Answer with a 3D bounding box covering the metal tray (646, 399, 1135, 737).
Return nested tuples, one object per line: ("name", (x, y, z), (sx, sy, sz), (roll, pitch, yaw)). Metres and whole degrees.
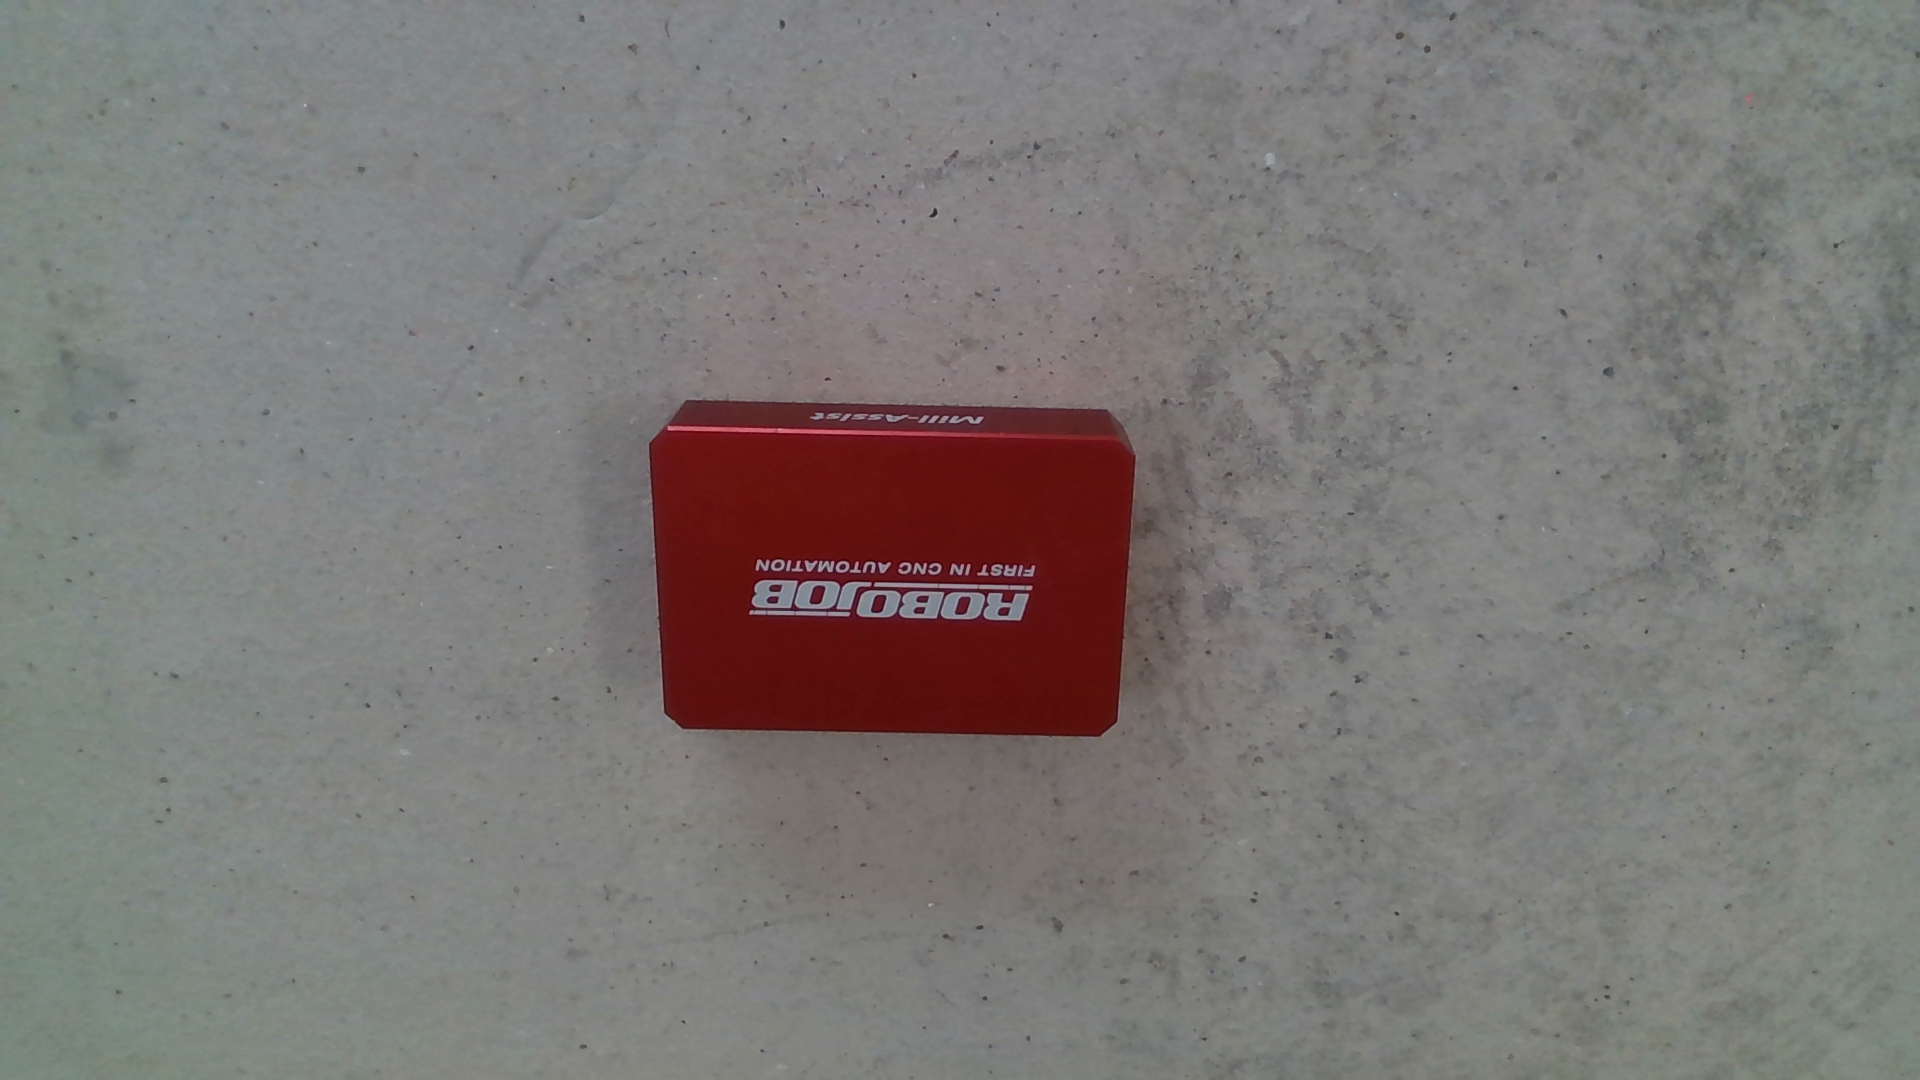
("metal tray", (-0.019, 0.008, 0.393), (0.130, 0.030, 0.090), (1, 111, 0))
